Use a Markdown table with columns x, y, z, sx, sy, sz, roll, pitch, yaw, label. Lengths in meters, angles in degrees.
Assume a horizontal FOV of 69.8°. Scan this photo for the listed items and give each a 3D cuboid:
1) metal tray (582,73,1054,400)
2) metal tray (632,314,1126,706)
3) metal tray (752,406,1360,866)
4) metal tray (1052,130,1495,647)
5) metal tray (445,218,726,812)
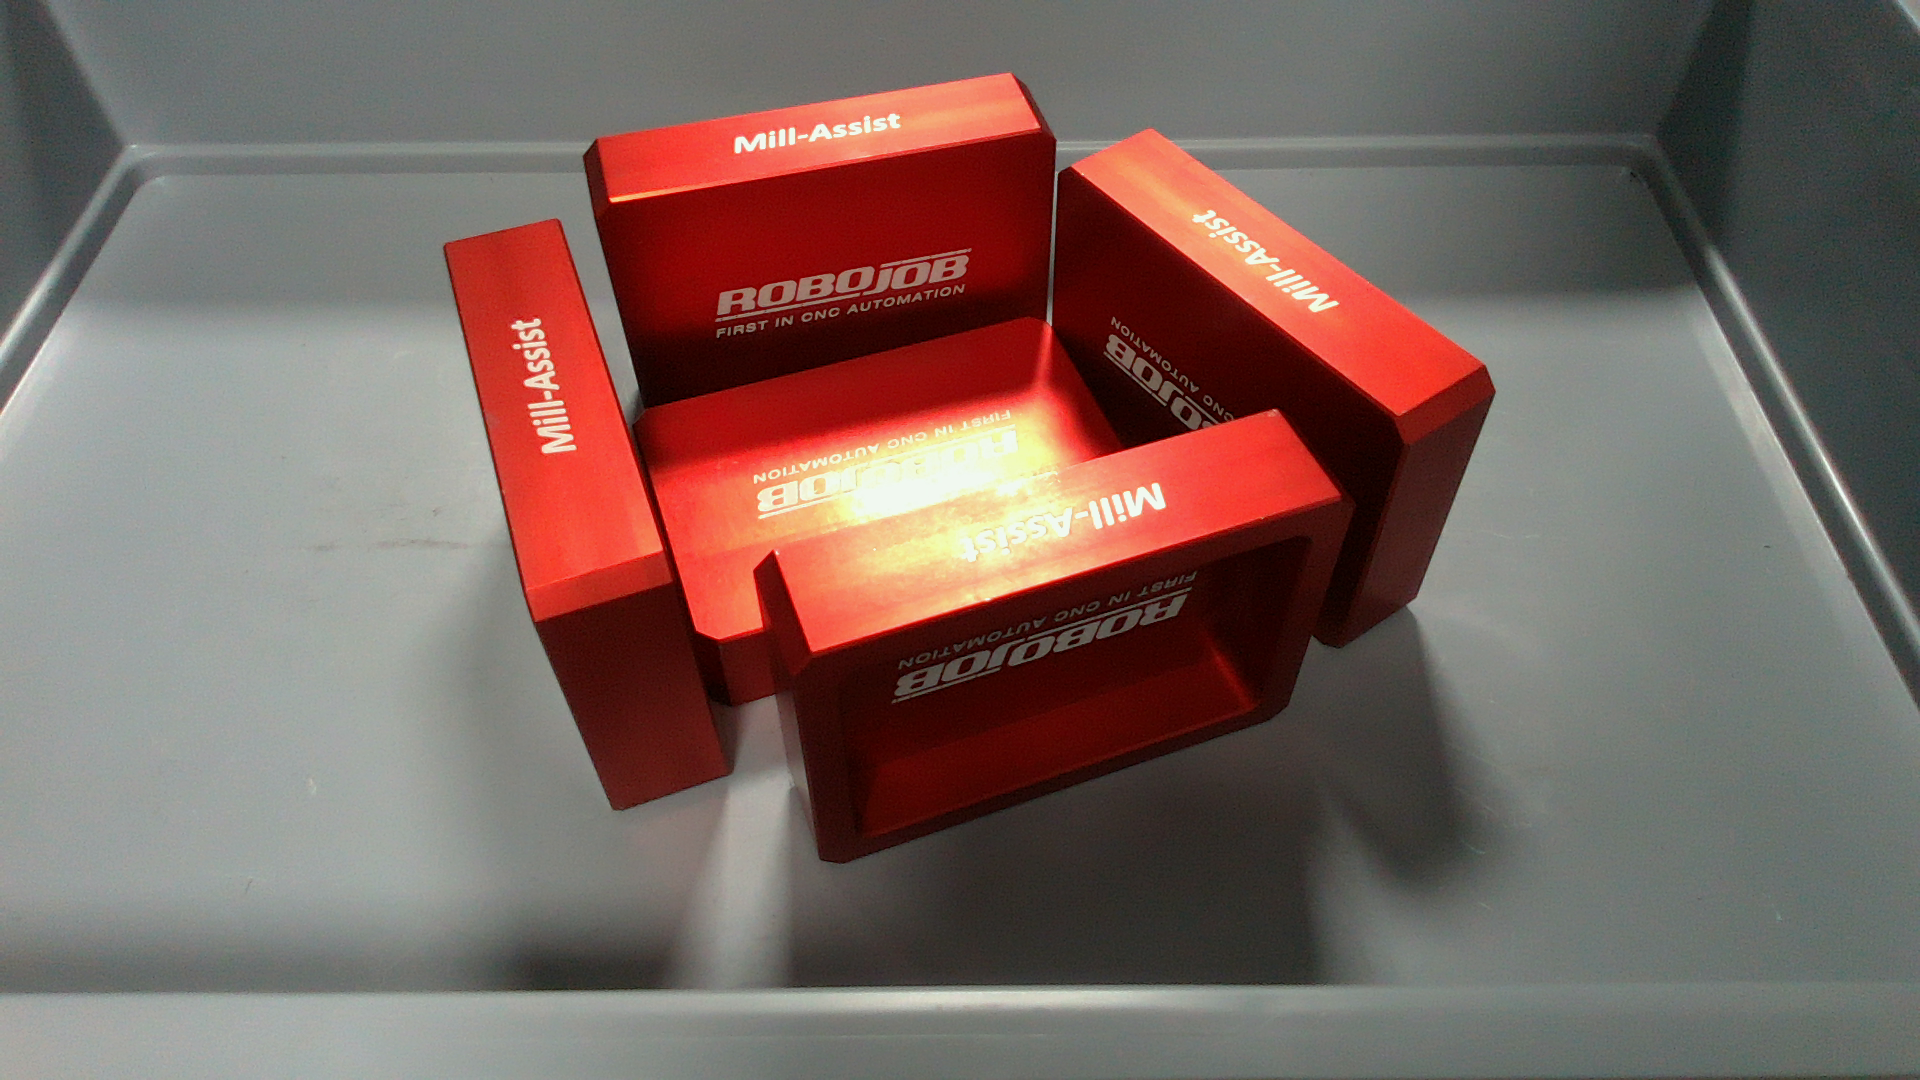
| x | y | z | sx | sy | sz | roll | pitch | yaw | label |
| --- | --- | --- | --- | --- | --- | --- | --- | --- | --- |
| -0.039 | -0.085 | 0.419 | 0.130 | 0.090 | 0.030 | -12 | 51 | -10 | metal tray |
| -0.020 | -0.013 | 0.396 | 0.130 | 0.030 | 0.090 | -16 | 52 | -13 | metal tray |
| 0.022 | 0.025 | 0.326 | 0.130 | 0.090 | 0.030 | -16 | 52 | -13 | metal tray |
| 0.078 | -0.043 | 0.384 | 0.030 | 0.090 | 0.130 | -30 | 56 | -21 | metal tray |
| -0.096 | -0.008 | 0.354 | 0.030 | 0.090 | 0.130 | -16 | 52 | -13 | metal tray |
